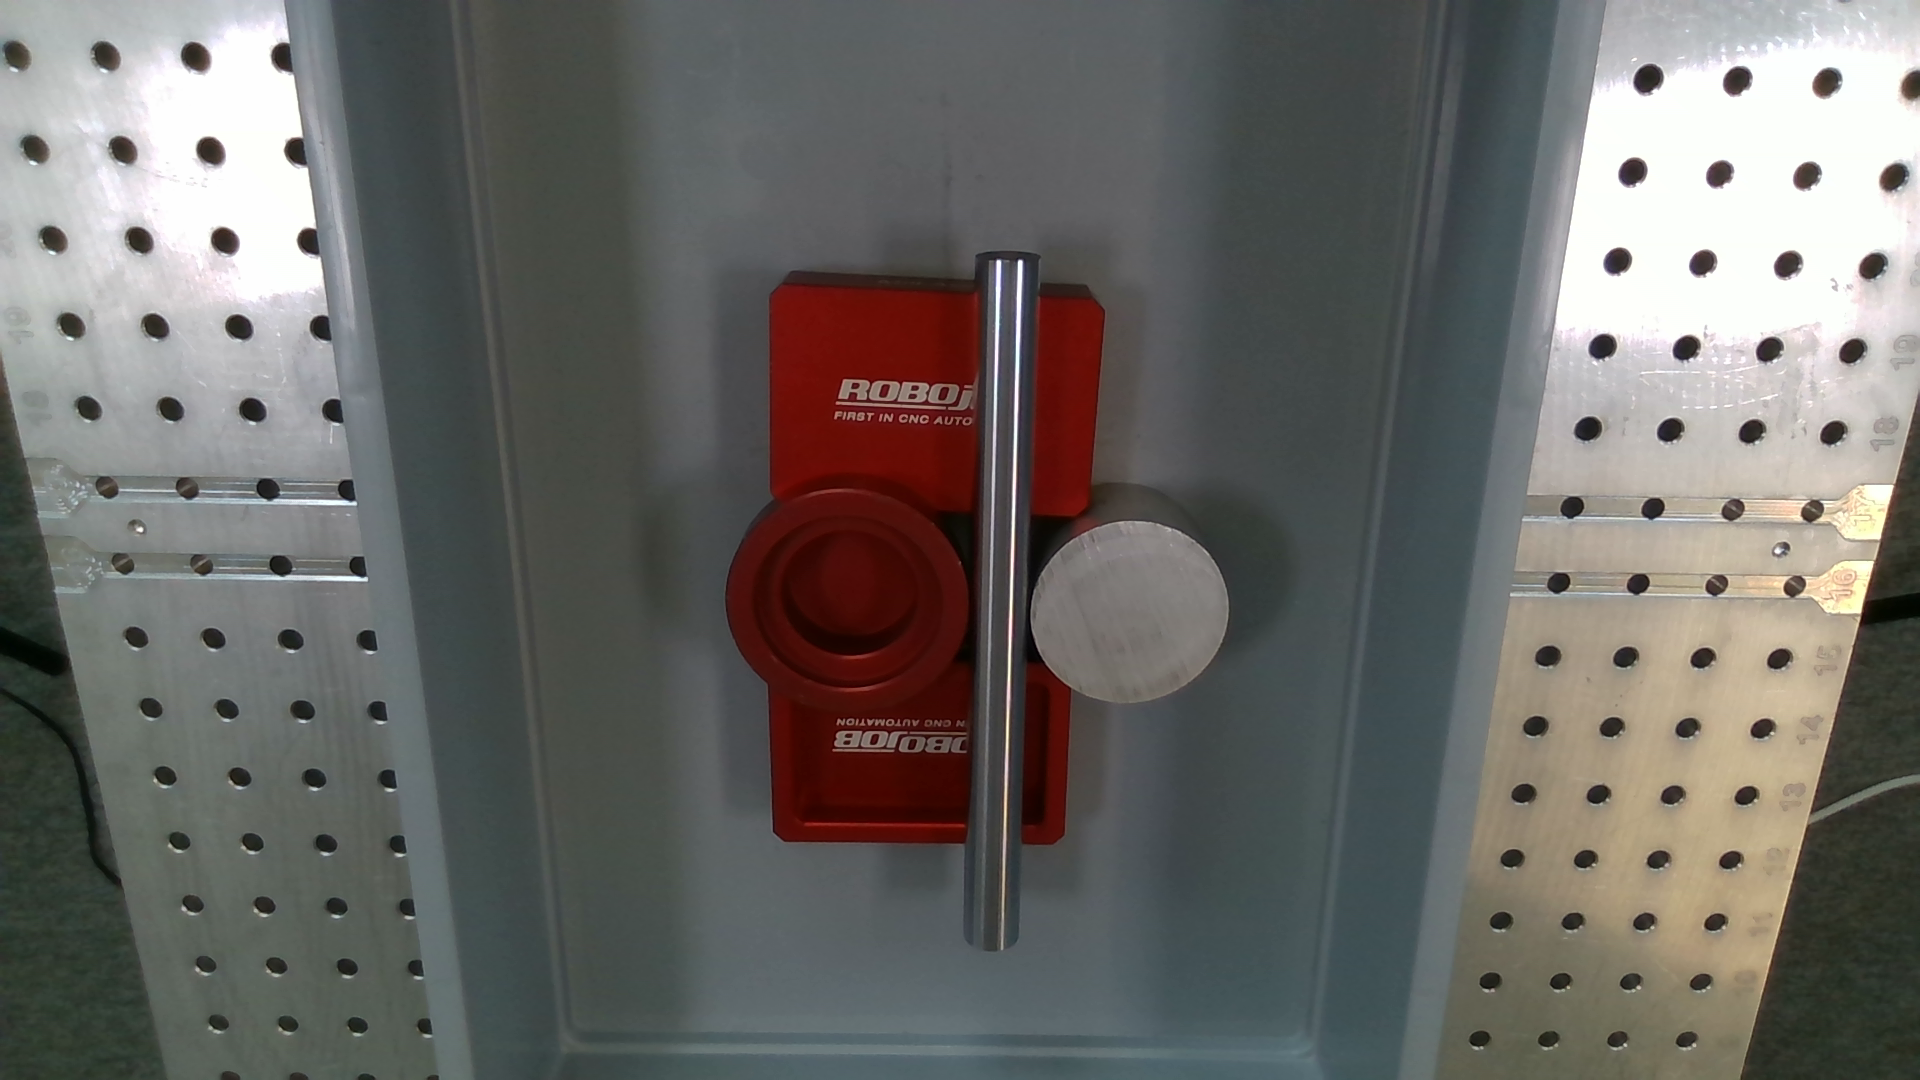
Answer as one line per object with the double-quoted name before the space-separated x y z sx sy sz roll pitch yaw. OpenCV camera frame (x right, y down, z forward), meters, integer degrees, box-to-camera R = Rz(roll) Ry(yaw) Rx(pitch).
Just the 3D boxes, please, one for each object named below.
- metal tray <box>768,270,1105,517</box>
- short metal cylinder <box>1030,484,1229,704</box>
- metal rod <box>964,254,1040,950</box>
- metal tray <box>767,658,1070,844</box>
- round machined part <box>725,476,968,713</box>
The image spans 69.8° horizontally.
"metal tray" -0.011 -0.059 0.558 0.130 0.030 0.090 3 110 -1
"short metal cylinder" 0.068 0.021 0.578 0.080 0.050 0.080 0 110 0
"metal rod" 0.015 0.035 0.564 0.025 0.025 0.301 1 110 0
"metal tray" -0.018 0.089 0.614 0.130 0.030 0.090 1 110 0
"round machined part" -0.046 0.019 0.572 0.098 0.042 0.098 0 110 0
